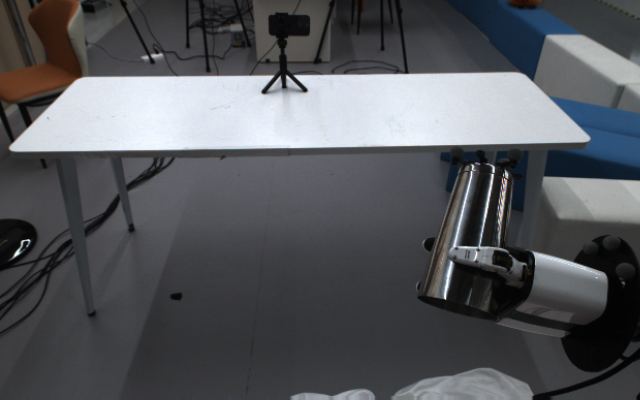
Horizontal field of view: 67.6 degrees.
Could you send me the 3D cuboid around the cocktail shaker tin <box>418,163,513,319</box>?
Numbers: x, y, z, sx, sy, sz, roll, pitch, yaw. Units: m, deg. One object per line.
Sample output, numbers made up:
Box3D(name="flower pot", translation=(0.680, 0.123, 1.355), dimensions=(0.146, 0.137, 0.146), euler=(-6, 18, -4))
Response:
Box3D(name="cocktail shaker tin", translation=(0.182, 0.046, 0.578), dimensions=(0.093, 0.093, 0.170), euler=(13, 74, 15))
